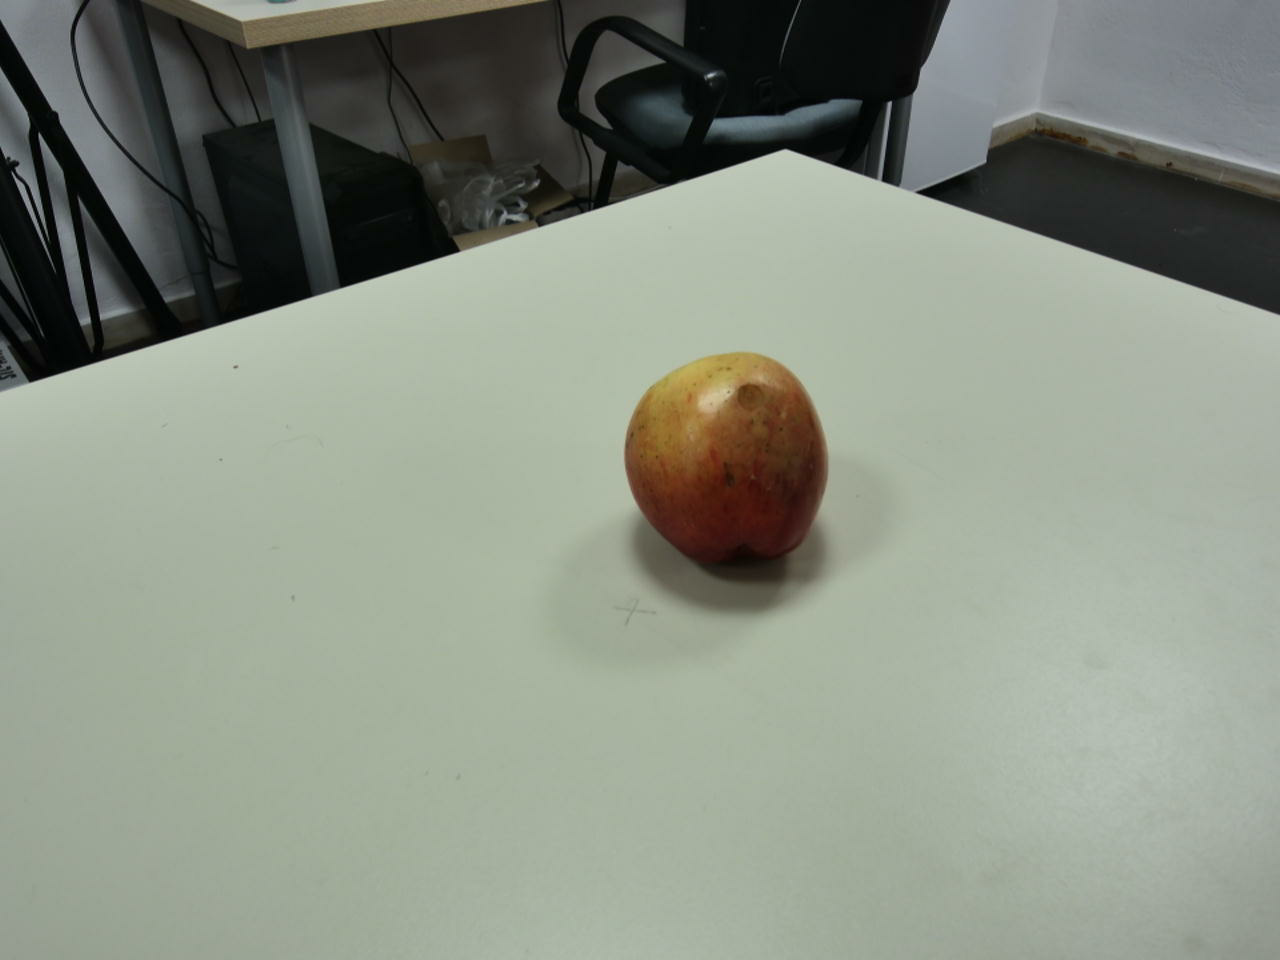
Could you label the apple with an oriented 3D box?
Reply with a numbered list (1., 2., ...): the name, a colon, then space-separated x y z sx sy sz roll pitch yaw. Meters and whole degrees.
1. apple: 0.037 -0.011 0.424 0.086 0.084 0.093 9 36 14
